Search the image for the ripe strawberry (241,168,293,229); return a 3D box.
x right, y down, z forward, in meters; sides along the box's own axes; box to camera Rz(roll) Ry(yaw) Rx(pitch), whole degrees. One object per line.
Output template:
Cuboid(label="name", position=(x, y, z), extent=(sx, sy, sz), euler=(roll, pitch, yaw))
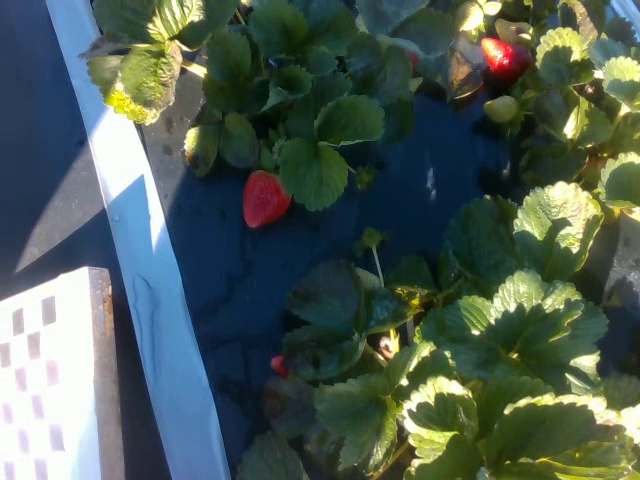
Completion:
Cuboid(label="ripe strawberry", position=(-0.047, -0.032, 0.511), extent=(0.045, 0.059, 0.042), euler=(15, -16, 37))
